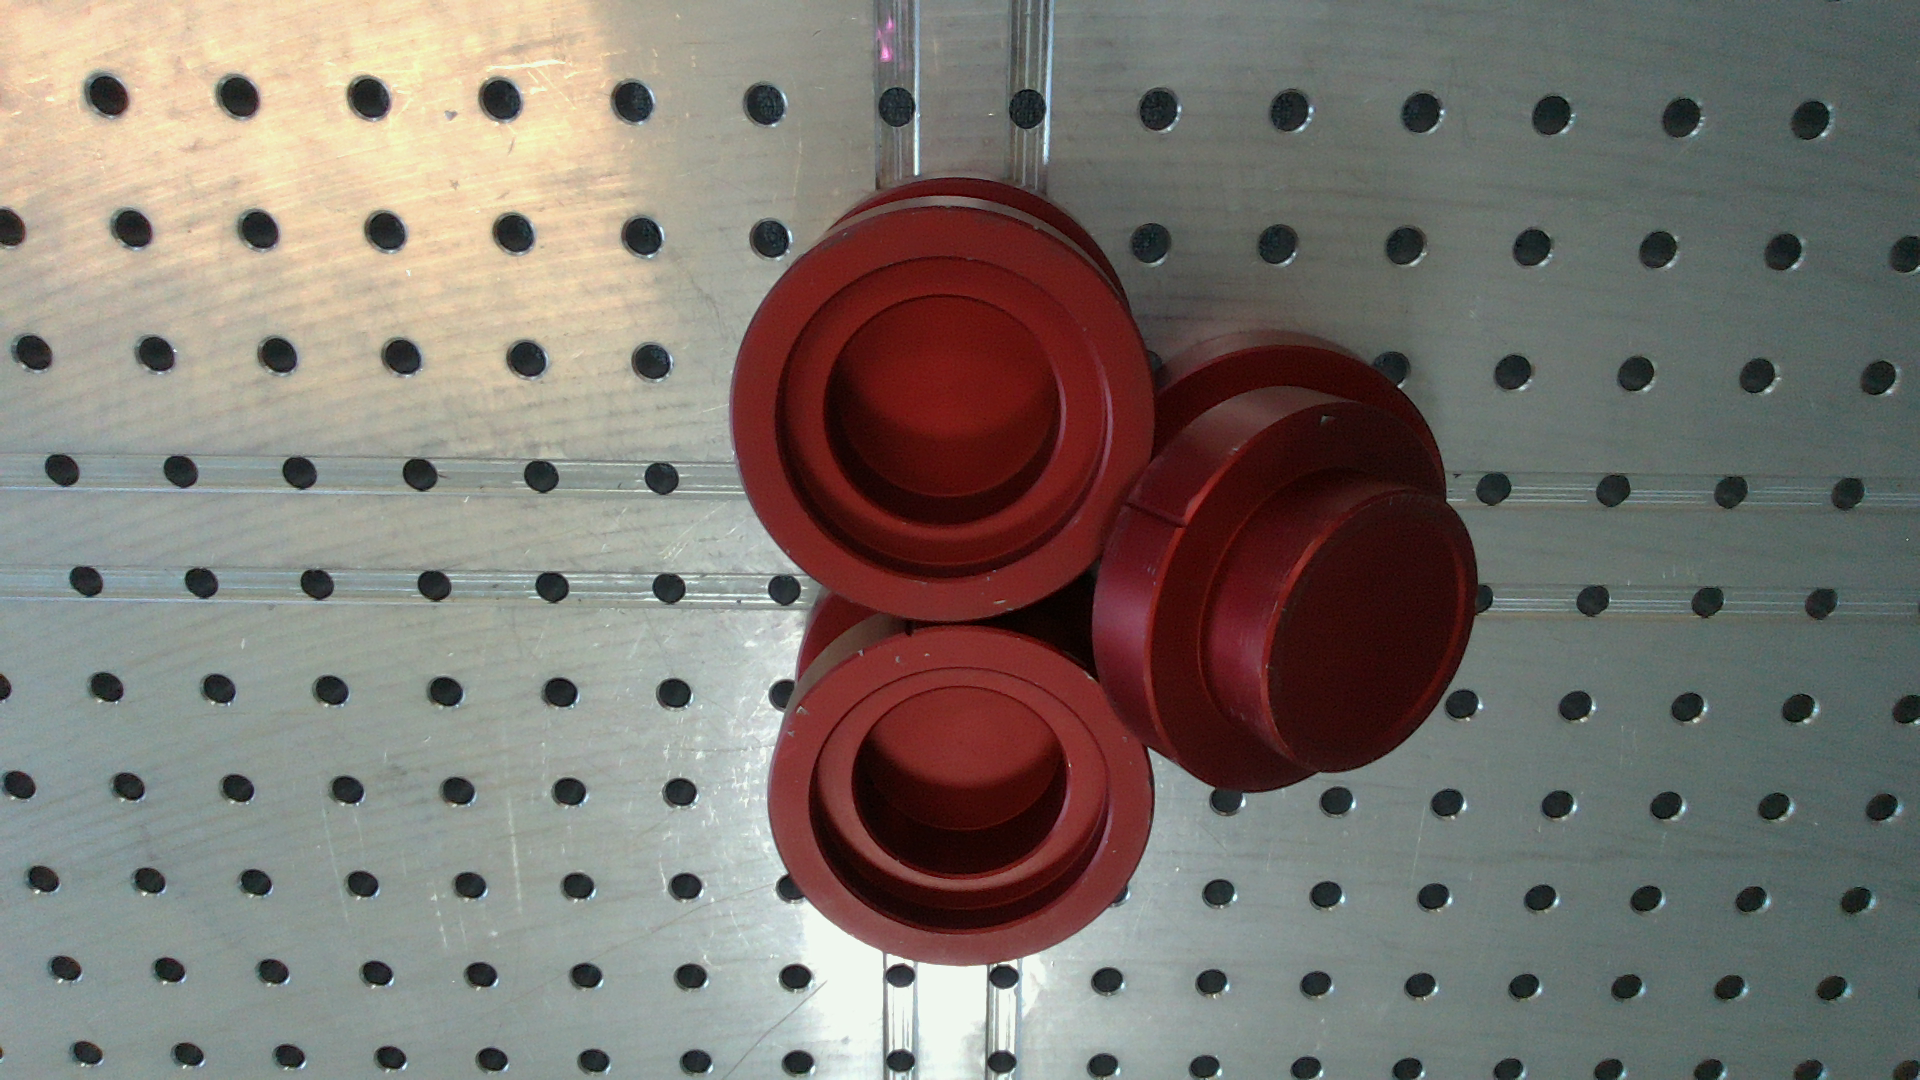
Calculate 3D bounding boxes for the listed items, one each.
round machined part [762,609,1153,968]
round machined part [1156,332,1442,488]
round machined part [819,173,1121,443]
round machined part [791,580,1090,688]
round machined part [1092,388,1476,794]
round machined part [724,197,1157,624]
[{"bbox_3d":[-0.001,0.060,0.364,0.098,0.042,0.098,0,110,0],"label":"round machined part"},{"bbox_3d":[0.087,-0.007,0.386,0.098,0.042,0.098,0,110,0],"label":"round machined part"},{"bbox_3d":[-0.003,-0.048,0.371,0.098,0.042,0.098,0,110,0],"label":"round machined part"},{"bbox_3d":[-0.001,0.045,0.404,0.098,0.042,0.098,0,110,0],"label":"round machined part"},{"bbox_3d":[0.083,0.016,0.326,0.098,0.042,0.098,-12,113,-30],"label":"round machined part"},{"bbox_3d":[-0.004,-0.033,0.330,0.098,0.042,0.098,0,110,0],"label":"round machined part"}]
